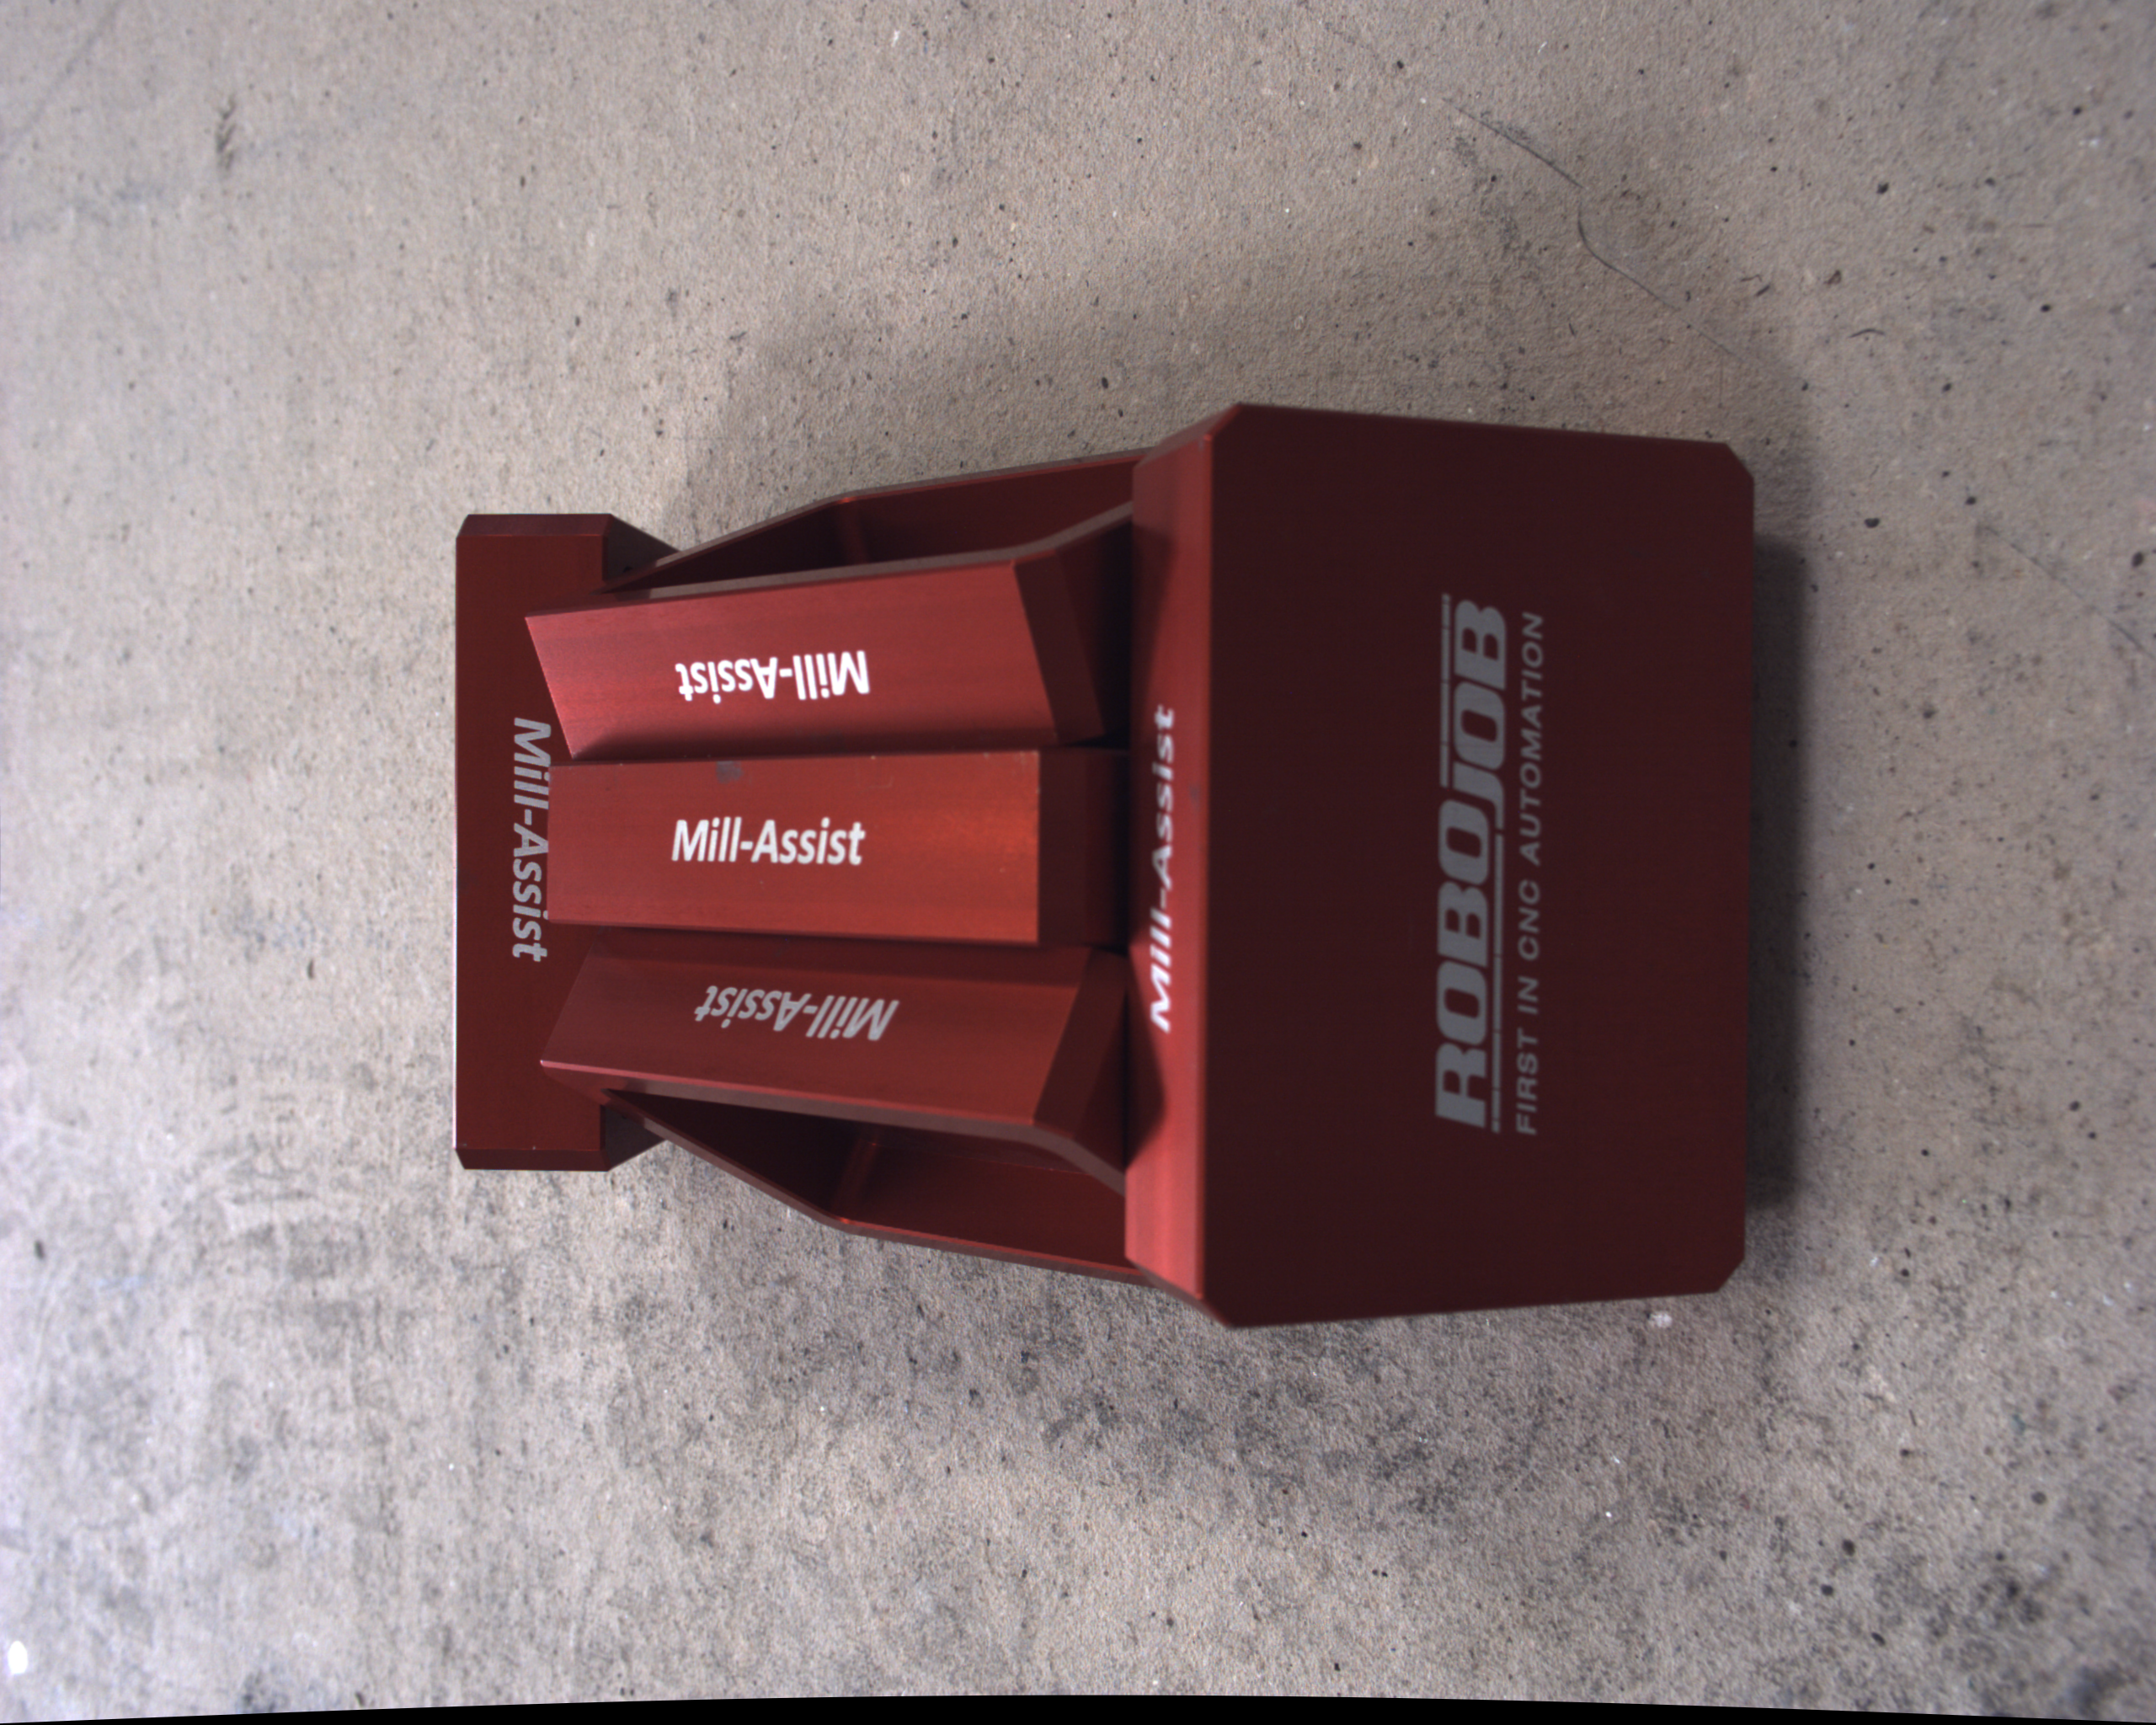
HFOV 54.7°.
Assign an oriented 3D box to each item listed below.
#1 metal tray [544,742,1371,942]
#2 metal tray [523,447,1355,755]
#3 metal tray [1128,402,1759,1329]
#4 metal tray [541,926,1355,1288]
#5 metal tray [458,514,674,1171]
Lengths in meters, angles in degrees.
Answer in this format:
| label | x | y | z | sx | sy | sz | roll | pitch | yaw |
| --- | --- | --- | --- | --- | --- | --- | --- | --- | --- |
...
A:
| label | x | y | z | sx | sy | sz | roll | pitch | yaw |
| --- | --- | --- | --- | --- | --- | --- | --- | --- | --- |
| metal tray | -0.024 | -0.004 | 0.383 | 0.130 | 0.091 | 0.030 | 1 | 91 | 39 |
| metal tray | -0.026 | -0.049 | 0.382 | 0.130 | 0.091 | 0.030 | 1 | 113 | 40 |
| metal tray | 0.056 | 0.001 | 0.317 | 0.030 | 0.091 | 0.129 | -178 | 88 | -71 |
| metal tray | -0.023 | 0.046 | 0.382 | 0.130 | 0.090 | 0.030 | 1 | 62 | 40 |
| metal tray | -0.103 | -0.004 | 0.450 | 0.030 | 0.090 | 0.129 | 0 | 90 | 4 |
